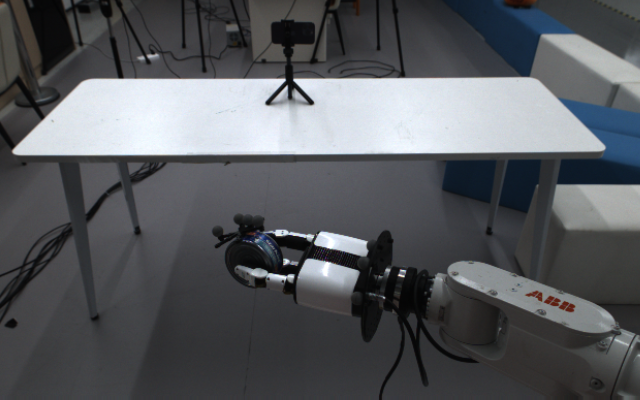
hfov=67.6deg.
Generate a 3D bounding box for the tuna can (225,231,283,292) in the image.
[{"bbox_3d":[-0.098,0.098,0.735,0.085,0.085,0.034,15,29,18],"label":"tuna can"}]
